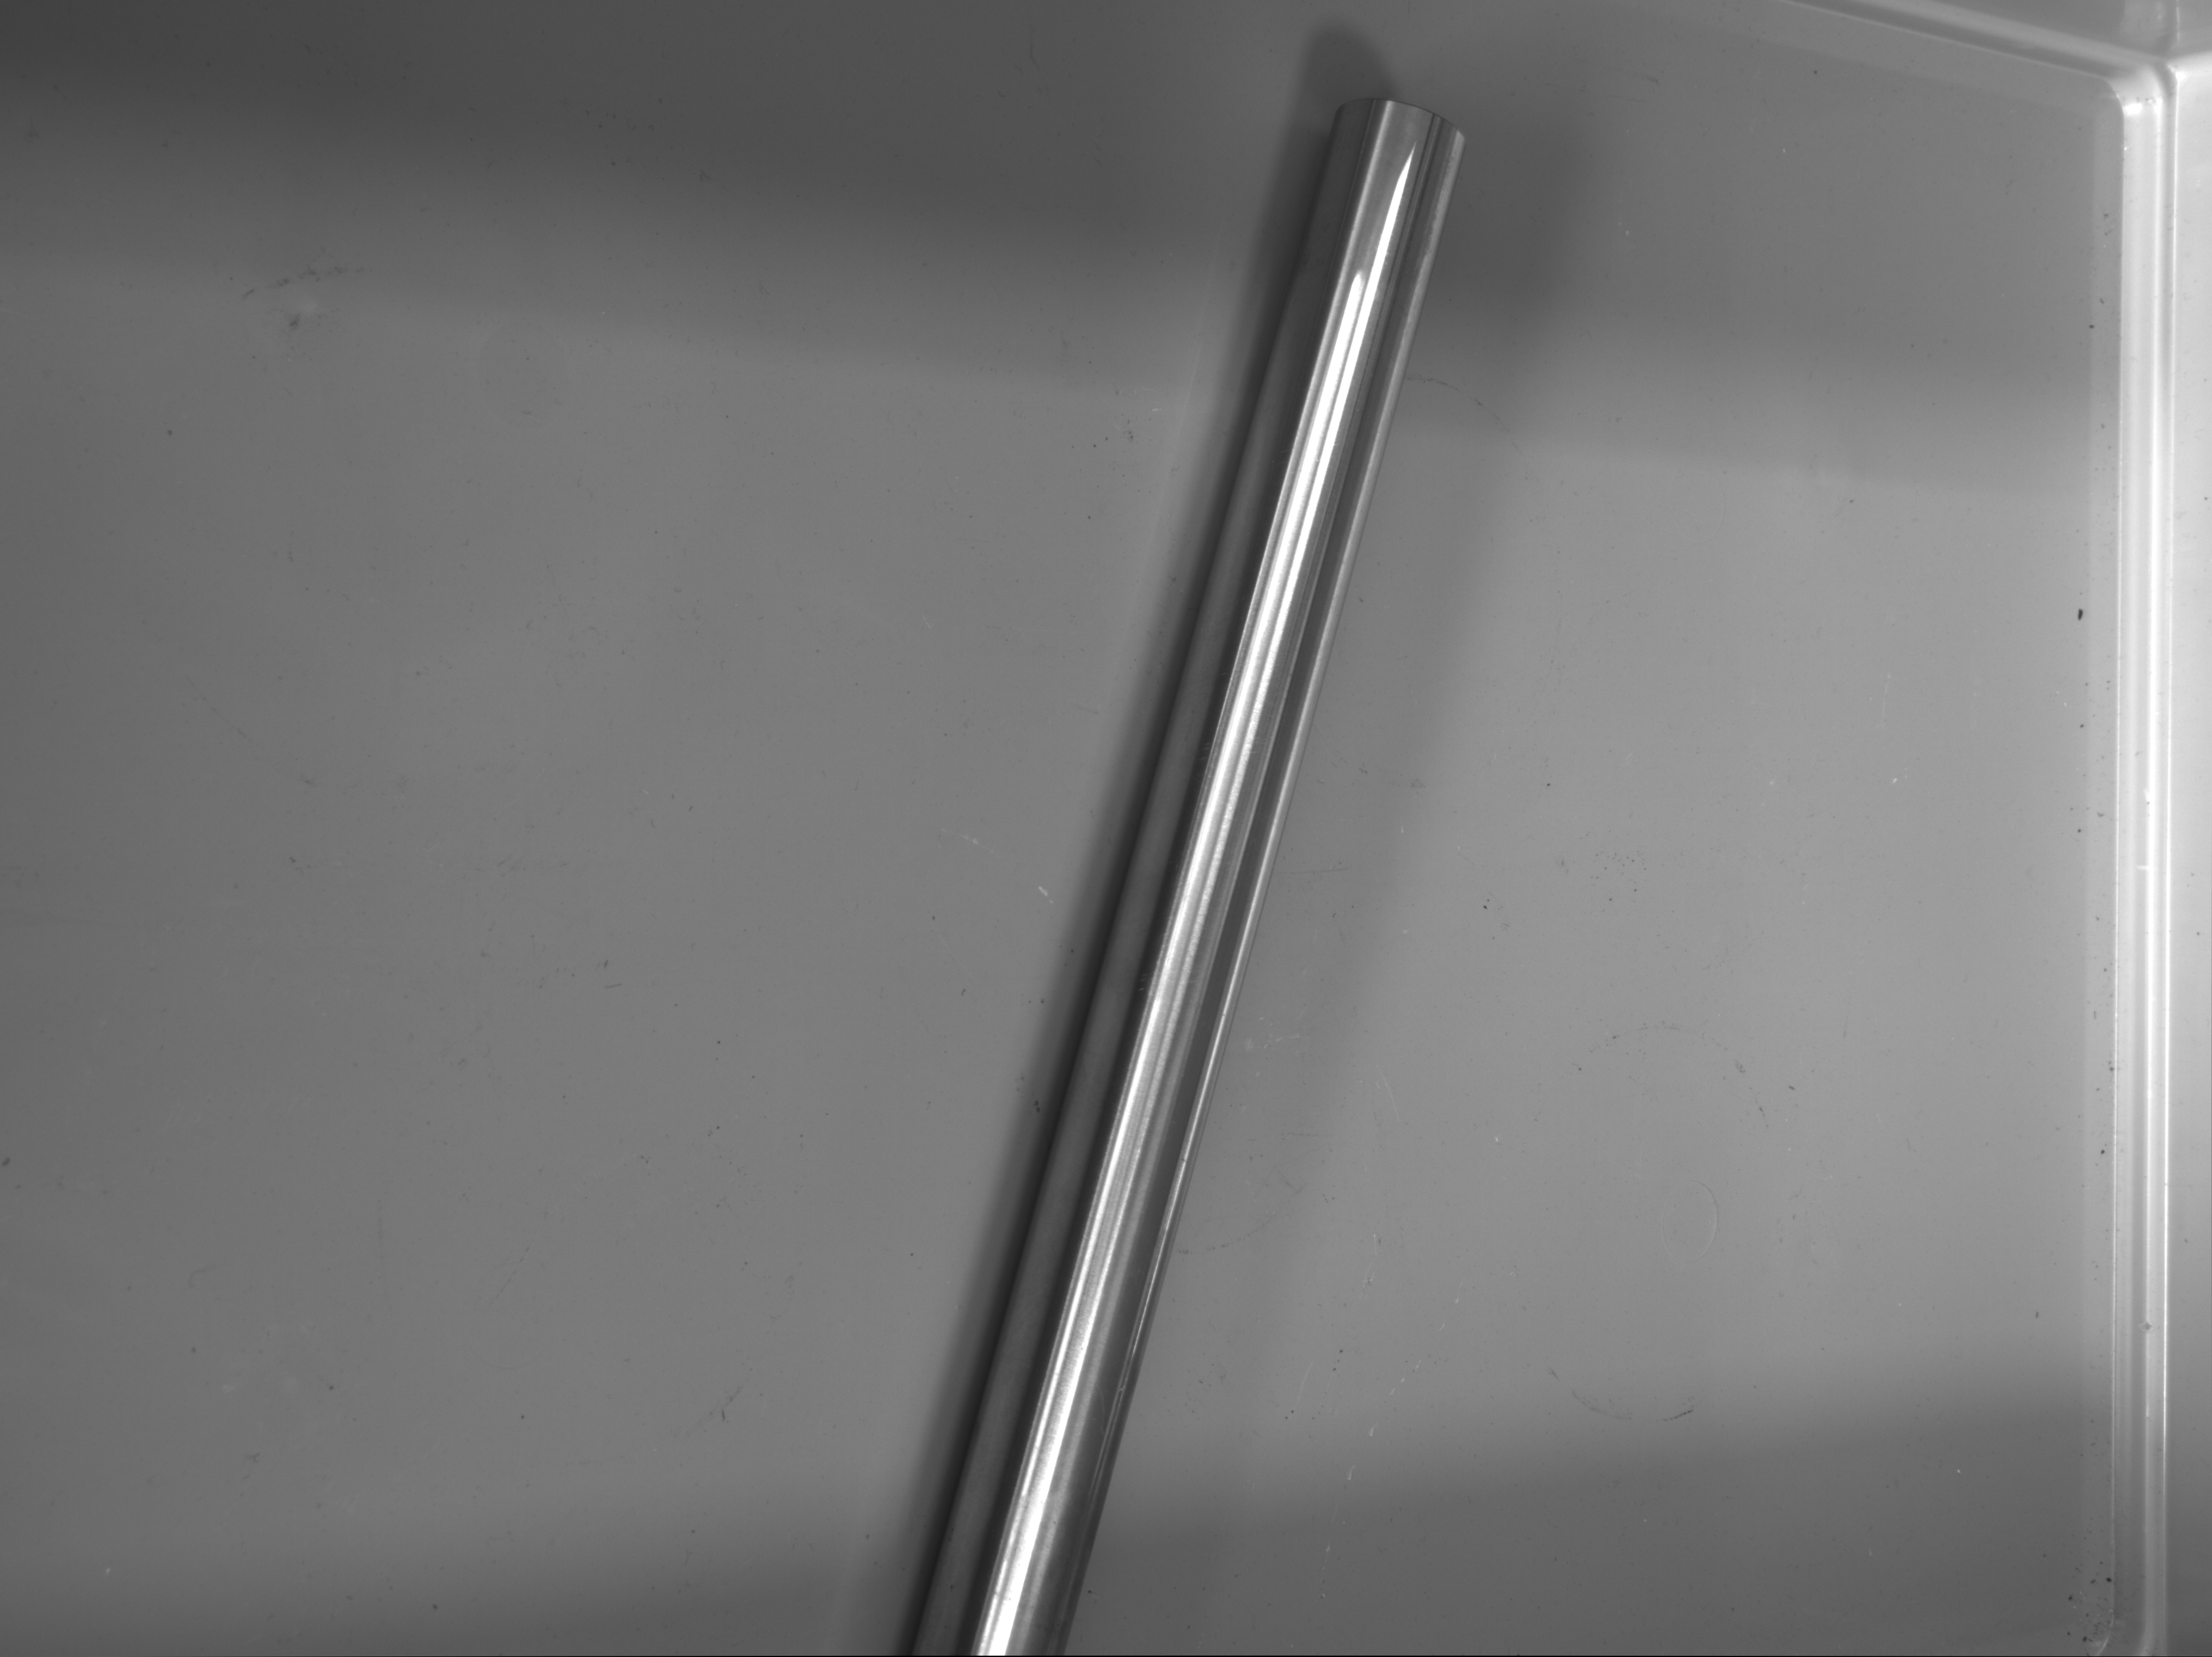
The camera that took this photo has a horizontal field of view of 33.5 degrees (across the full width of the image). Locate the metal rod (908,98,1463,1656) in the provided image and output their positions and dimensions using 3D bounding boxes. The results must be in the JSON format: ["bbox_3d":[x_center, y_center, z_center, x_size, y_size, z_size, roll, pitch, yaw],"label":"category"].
[{"bbox_3d":[0.015,0.012,0.646,0.025,0.025,0.300,25,74,-37],"label":"metal rod"}]
